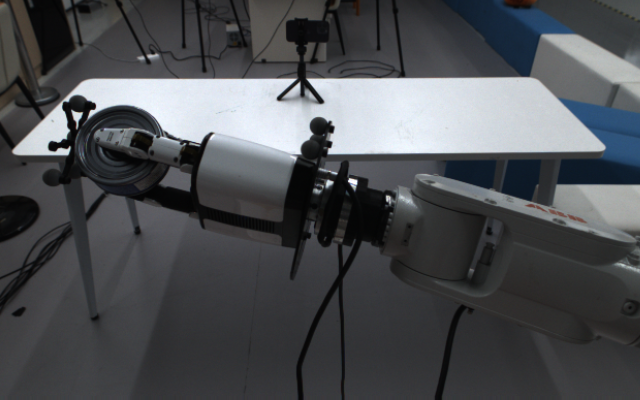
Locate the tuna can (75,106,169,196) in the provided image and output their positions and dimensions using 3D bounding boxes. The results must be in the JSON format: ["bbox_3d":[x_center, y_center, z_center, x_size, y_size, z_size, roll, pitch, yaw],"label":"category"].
[{"bbox_3d":[-0.190,-0.049,0.479,0.085,0.034,0.085,1,74,-4],"label":"tuna can"}]
